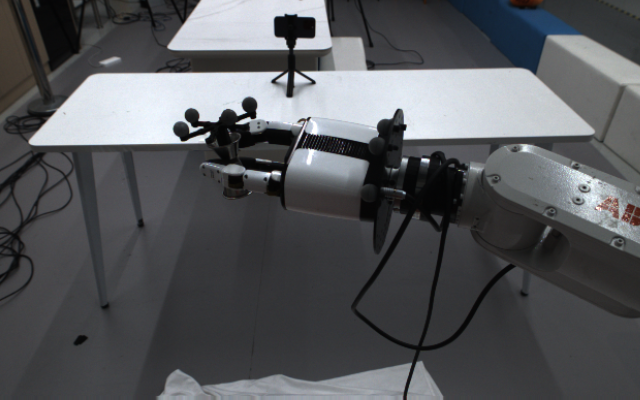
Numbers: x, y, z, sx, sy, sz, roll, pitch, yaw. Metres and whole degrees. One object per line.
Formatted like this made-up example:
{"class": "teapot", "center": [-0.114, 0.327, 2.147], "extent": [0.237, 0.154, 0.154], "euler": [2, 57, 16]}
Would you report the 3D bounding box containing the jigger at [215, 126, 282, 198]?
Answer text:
{"class": "jigger", "center": [-0.102, -0.041, 0.571], "extent": [0.043, 0.071, 0.043], "euler": [-10, 32, 6]}
